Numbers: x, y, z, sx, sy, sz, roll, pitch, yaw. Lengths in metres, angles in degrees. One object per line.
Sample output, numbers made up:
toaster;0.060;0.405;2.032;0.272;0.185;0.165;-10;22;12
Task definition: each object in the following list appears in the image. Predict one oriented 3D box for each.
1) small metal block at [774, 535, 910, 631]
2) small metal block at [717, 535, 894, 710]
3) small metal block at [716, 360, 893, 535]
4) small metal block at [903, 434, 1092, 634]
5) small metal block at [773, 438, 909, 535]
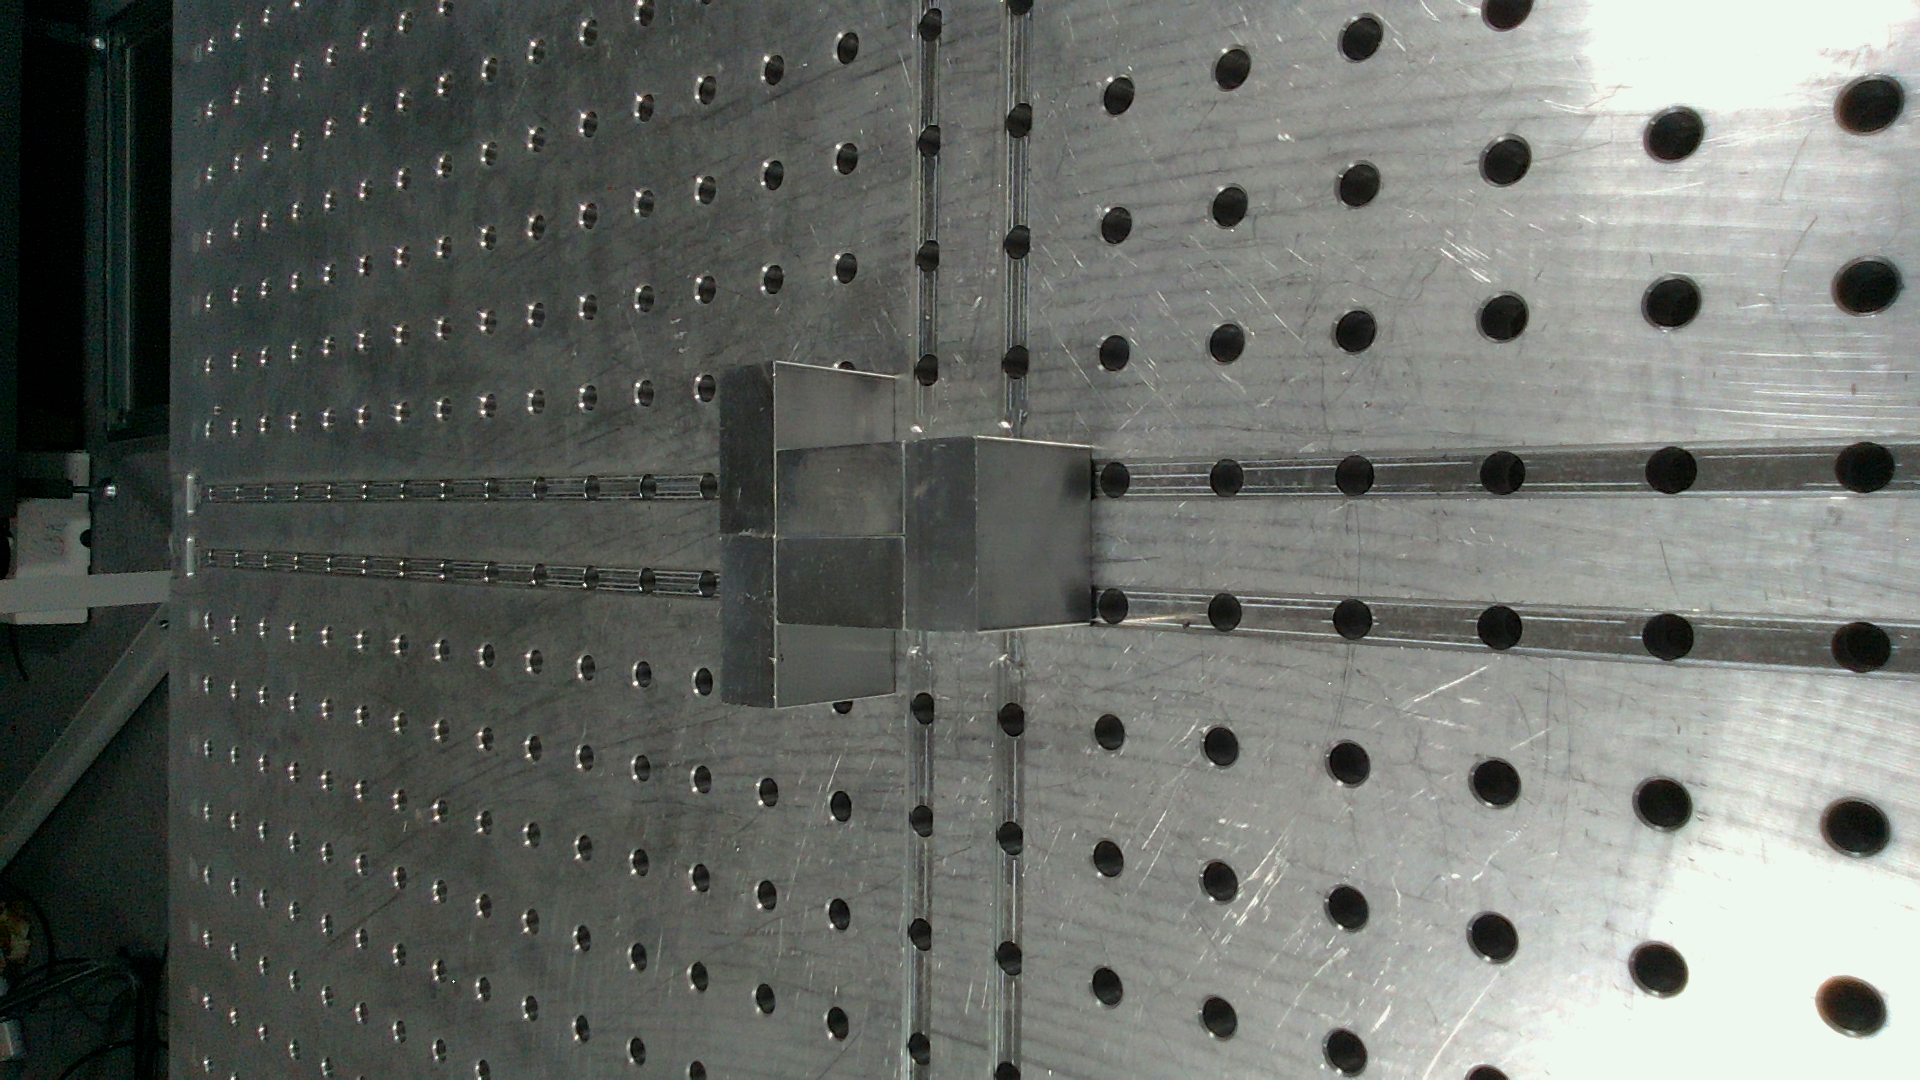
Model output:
small metal block;-0.018;0.011;0.396;0.050;0.050;0.025;0;90;40
small metal block;-0.046;0.024;0.420;0.025;0.050;0.050;0;90;40
small metal block;-0.047;-0.026;0.420;0.025;0.050;0.050;0;90;40
small metal block;0.011;-0.001;0.371;0.025;0.050;0.050;0;90;40
small metal block;-0.018;-0.014;0.396;0.050;0.050;0.025;0;90;40
